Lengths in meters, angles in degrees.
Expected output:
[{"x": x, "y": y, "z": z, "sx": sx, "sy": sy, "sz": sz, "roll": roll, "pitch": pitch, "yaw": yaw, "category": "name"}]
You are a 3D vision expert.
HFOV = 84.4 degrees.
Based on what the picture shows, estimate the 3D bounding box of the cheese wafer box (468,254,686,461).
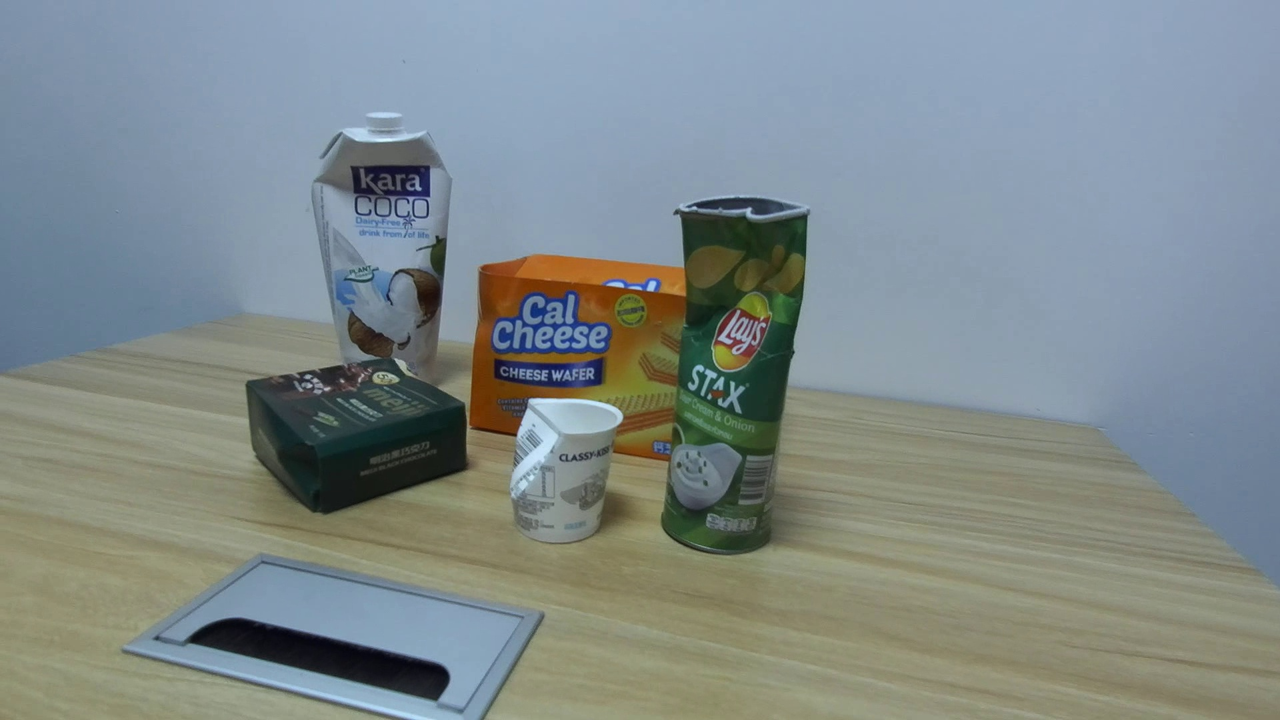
[{"x": -0.015, "y": -0.009, "z": 0.592, "sx": 0.230, "sy": 0.132, "sz": 0.152, "roll": 8, "pitch": 17, "yaw": 12, "category": "cheese wafer box"}]

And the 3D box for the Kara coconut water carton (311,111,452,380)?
[{"x": -0.226, "y": -0.093, "z": 0.626, "sx": 0.115, "sy": 0.238, "sz": 0.069, "roll": -3, "pitch": 21, "yaw": -23, "category": "Kara coconut water carton"}]

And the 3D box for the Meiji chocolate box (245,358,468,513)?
[{"x": -0.192, "y": 0.048, "z": 0.485, "sx": 0.115, "sy": 0.058, "sz": 0.123, "roll": 23, "pitch": 24, "yaw": 39, "category": "Meiji chocolate box"}]

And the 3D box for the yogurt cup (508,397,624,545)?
[{"x": -0.045, "y": 0.065, "z": 0.427, "sx": 0.067, "sy": 0.070, "sz": 0.067, "roll": 3, "pitch": 17, "yaw": -1, "category": "yogurt cup"}]

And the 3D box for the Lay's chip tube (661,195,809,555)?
[{"x": 0.054, "y": 0.008, "z": 0.415, "sx": 0.077, "sy": 0.201, "sz": 0.069, "roll": 6, "pitch": 15, "yaw": 15, "category": "Lay's chip tube"}]
